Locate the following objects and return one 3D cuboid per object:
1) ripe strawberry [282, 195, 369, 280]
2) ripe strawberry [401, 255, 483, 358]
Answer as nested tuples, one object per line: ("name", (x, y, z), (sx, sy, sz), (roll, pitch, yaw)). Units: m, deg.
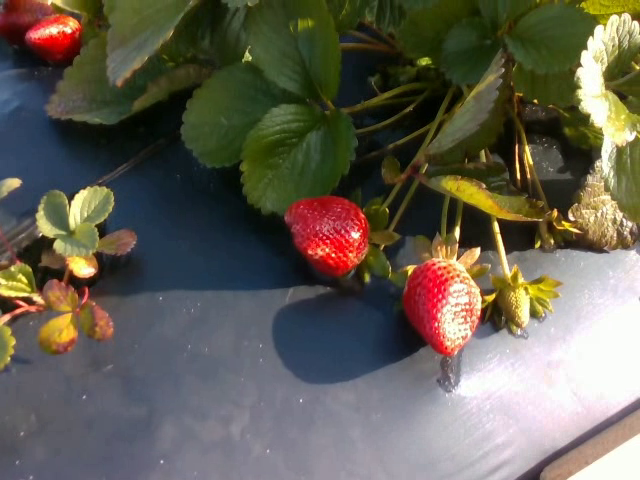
("ripe strawberry", (0.004, -0.003, 0.307), (0.054, 0.048, 0.039), (0, -11, -37))
("ripe strawberry", (0.058, 0.031, 0.277), (0.043, 0.039, 0.053), (23, 36, -8))
